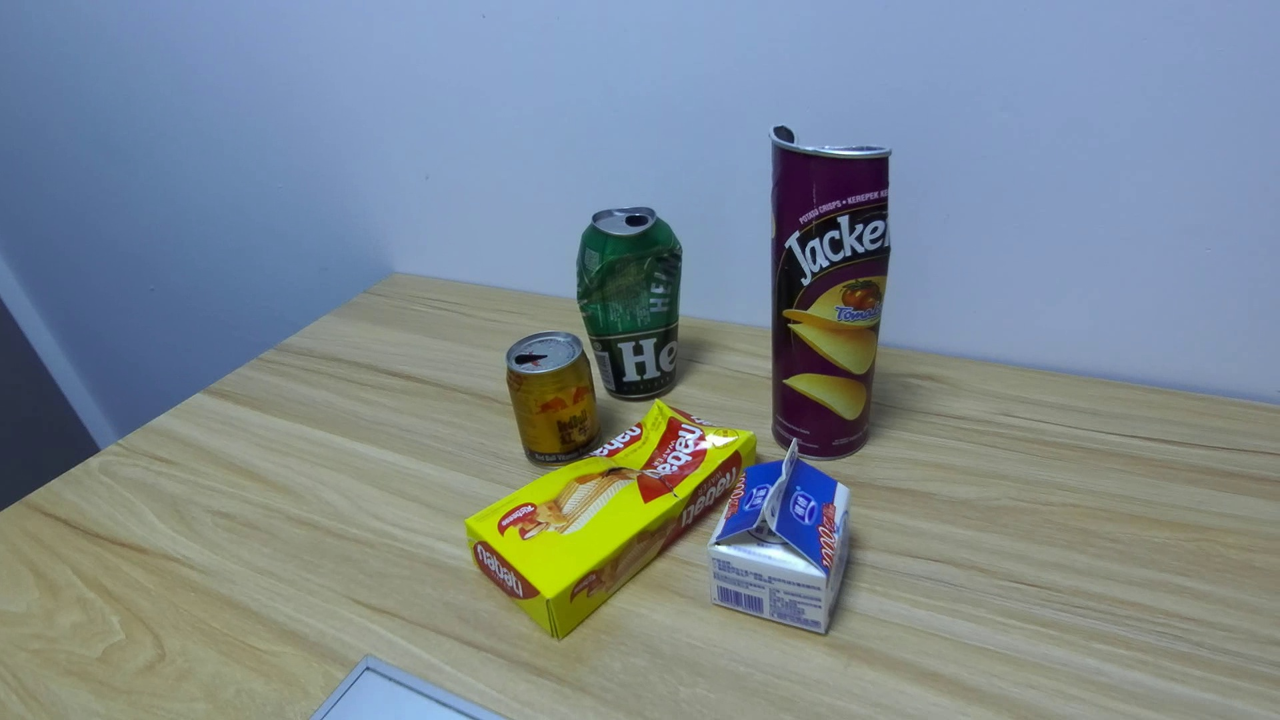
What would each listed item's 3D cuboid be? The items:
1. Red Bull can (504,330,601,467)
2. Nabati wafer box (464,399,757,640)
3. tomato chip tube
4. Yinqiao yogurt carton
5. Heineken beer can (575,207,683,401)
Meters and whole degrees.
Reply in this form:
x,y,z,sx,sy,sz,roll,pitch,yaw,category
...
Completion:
x,y,z,sx,sy,sz,roll,pitch,yaw,category
-0.069,0.032,0.564,0.067,0.093,0.067,-4,32,3,Red Bull can
-0.014,0.094,0.503,0.205,0.042,0.106,-31,40,-35,Nabati wafer box
0.132,-0.042,0.504,0.076,0.235,0.077,0,32,11,tomato chip tube
0.086,0.099,0.424,0.073,0.092,0.076,7,32,25,Yinqiao yogurt carton
-0.009,-0.045,0.603,0.077,0.164,0.066,14,38,26,Heineken beer can
